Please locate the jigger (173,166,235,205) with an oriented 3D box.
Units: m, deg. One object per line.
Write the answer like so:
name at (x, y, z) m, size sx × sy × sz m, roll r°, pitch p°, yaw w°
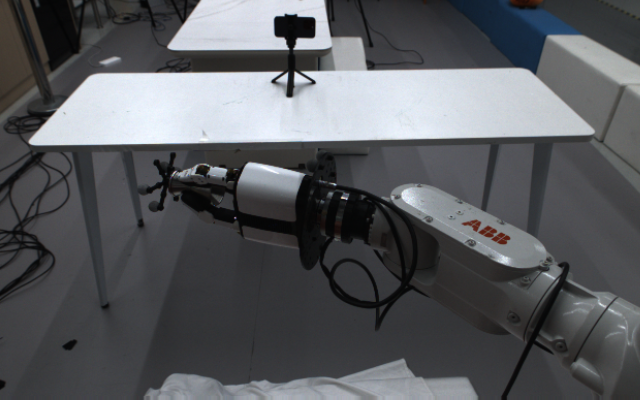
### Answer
jigger at (-0.171, -0.023, 0.696) m, size 0.071 × 0.043 × 0.043 m, roll 10°, pitch 35°, yaw 16°
